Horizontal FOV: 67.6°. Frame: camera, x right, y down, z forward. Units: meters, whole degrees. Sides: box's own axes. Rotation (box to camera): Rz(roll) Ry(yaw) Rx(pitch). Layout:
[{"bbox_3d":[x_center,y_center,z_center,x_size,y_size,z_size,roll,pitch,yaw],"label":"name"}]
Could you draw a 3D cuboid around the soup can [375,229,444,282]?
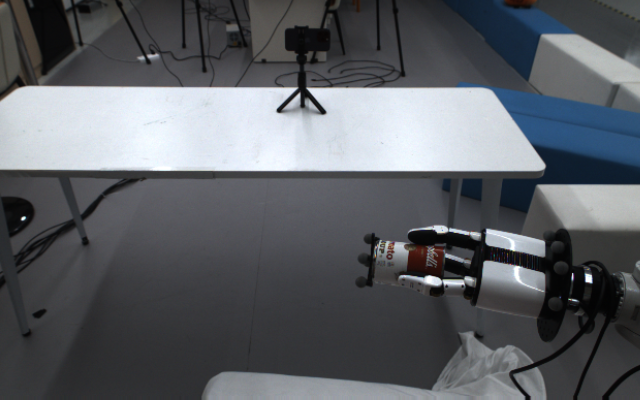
[{"bbox_3d":[0.135,0.097,0.723,0.101,0.067,0.067,5,34,13],"label":"soup can"}]
